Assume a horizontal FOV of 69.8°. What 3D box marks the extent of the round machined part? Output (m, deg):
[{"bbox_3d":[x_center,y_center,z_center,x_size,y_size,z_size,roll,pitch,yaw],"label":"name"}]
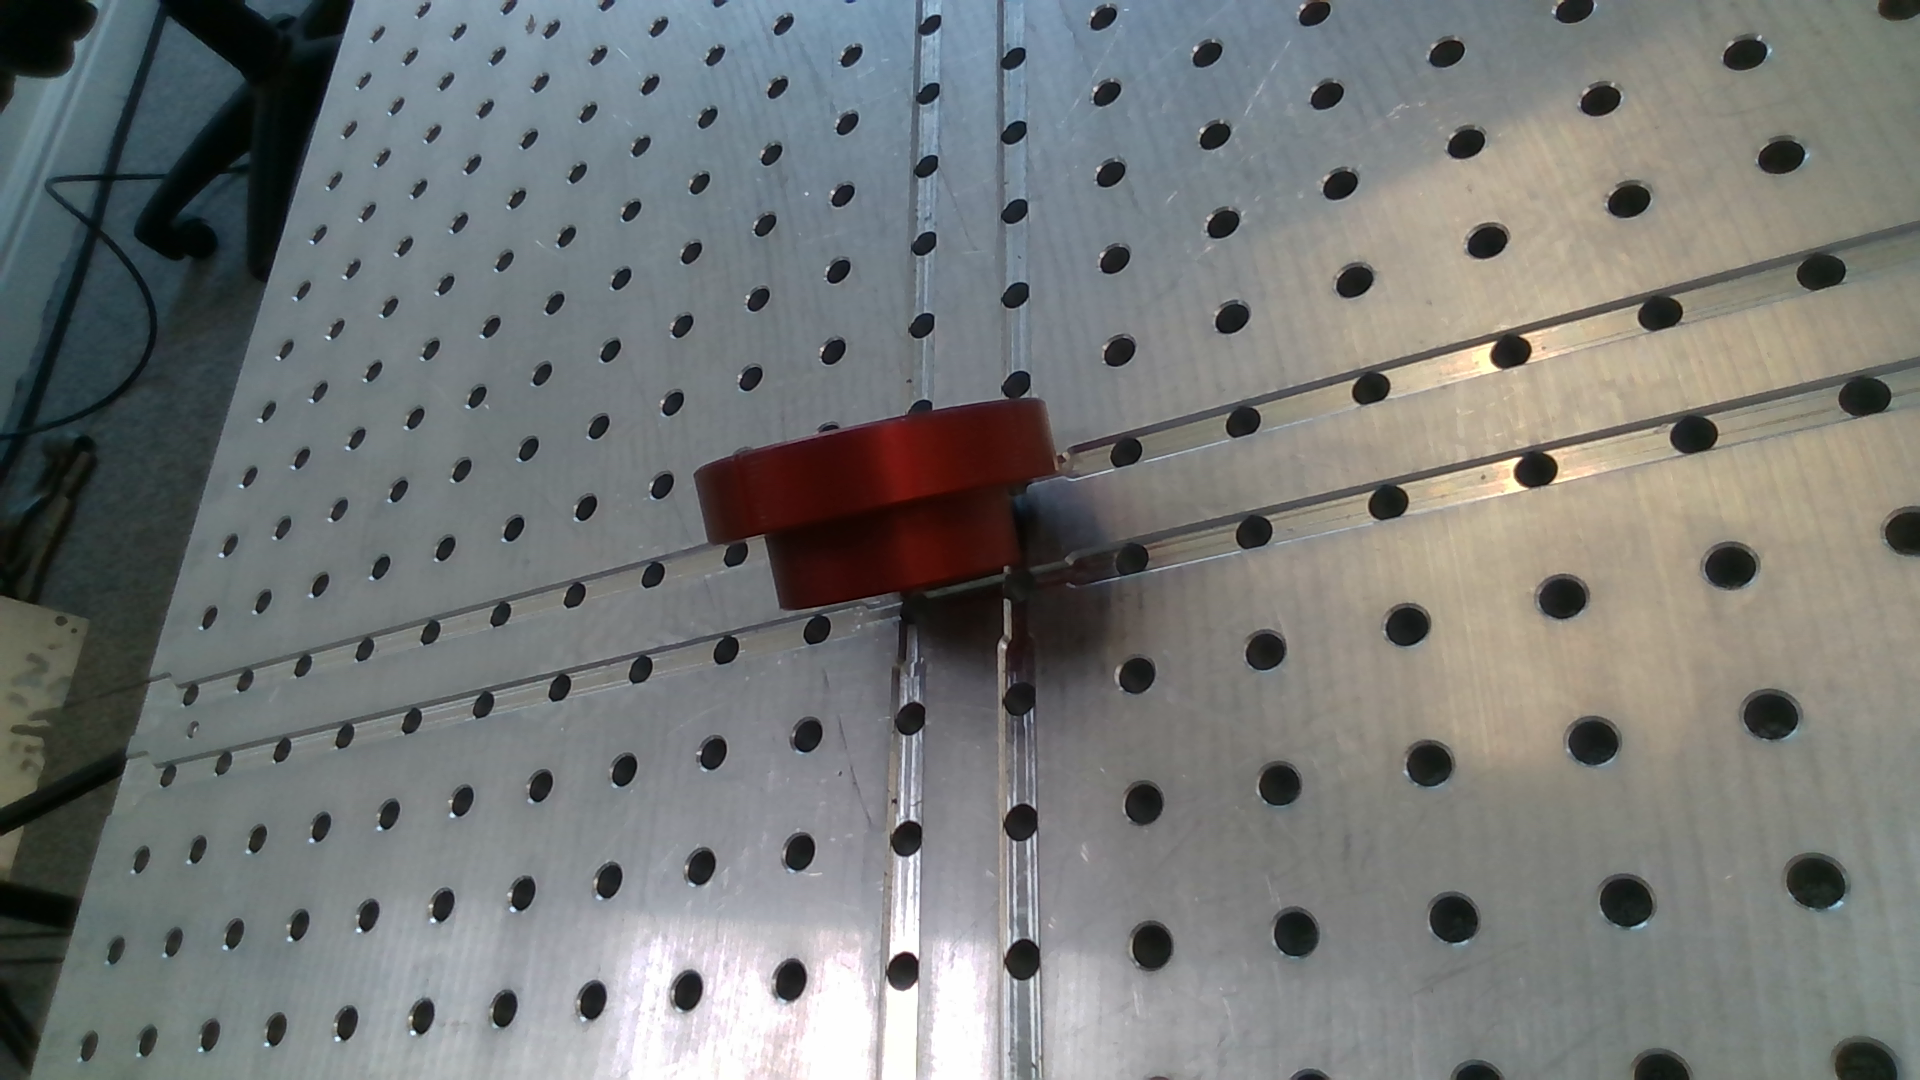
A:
[{"bbox_3d":[-0.021,-0.008,0.378,0.098,0.098,0.042,-11,91,27],"label":"round machined part"}]
